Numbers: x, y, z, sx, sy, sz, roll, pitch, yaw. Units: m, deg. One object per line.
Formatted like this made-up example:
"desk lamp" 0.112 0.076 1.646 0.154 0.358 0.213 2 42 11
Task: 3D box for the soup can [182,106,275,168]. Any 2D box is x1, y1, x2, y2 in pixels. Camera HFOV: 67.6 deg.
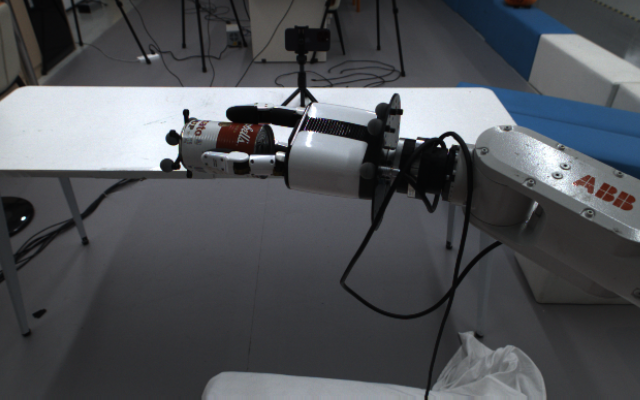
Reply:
"soup can" -0.114 -0.064 0.608 0.101 0.067 0.067 6 35 12
